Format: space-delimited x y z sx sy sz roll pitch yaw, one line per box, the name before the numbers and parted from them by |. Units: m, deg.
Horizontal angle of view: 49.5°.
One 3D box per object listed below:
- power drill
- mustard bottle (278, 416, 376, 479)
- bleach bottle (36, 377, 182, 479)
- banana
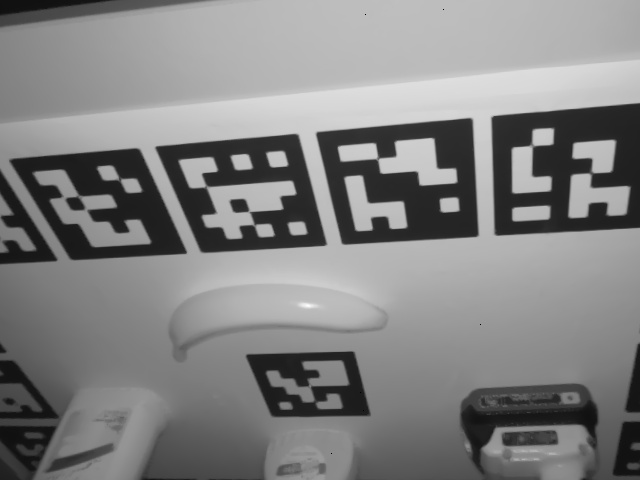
power drill | 0.168 0.229 0.552 0.183 0.189 0.057 -10 127 11
mustard bottle | -0.004 0.256 0.639 0.095 0.194 0.058 -9 127 18
bleach bottle | -0.207 0.239 0.610 0.102 0.253 0.067 4 130 7
banana | -0.031 0.051 0.559 0.196 0.039 0.074 -9 125 12
